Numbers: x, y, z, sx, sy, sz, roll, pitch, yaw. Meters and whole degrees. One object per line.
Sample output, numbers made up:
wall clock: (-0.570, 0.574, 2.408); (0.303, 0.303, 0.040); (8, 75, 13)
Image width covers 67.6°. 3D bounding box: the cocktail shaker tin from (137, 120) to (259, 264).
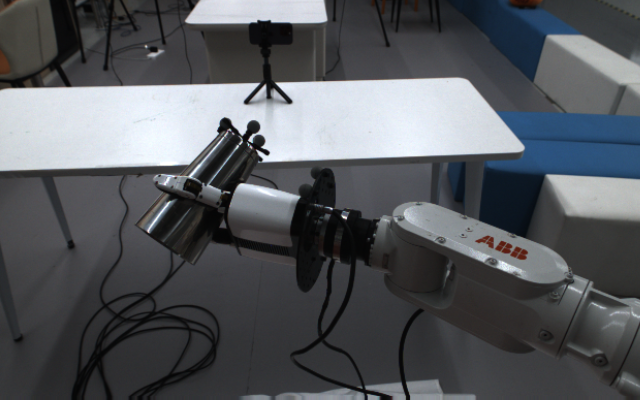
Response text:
cocktail shaker tin: (-0.157, -0.012, 0.650); (0.093, 0.093, 0.170); (24, 69, 28)
